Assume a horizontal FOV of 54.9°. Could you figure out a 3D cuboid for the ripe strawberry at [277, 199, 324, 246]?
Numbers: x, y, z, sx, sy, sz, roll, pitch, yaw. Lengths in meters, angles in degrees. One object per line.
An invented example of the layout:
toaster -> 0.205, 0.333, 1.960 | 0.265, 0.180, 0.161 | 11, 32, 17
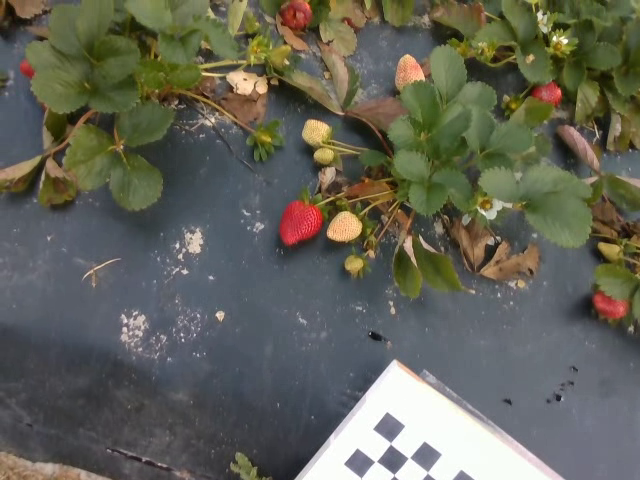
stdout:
ripe strawberry -> -0.021, -0.016, 0.605 | 0.050, 0.059, 0.034 | 26, -40, -1
